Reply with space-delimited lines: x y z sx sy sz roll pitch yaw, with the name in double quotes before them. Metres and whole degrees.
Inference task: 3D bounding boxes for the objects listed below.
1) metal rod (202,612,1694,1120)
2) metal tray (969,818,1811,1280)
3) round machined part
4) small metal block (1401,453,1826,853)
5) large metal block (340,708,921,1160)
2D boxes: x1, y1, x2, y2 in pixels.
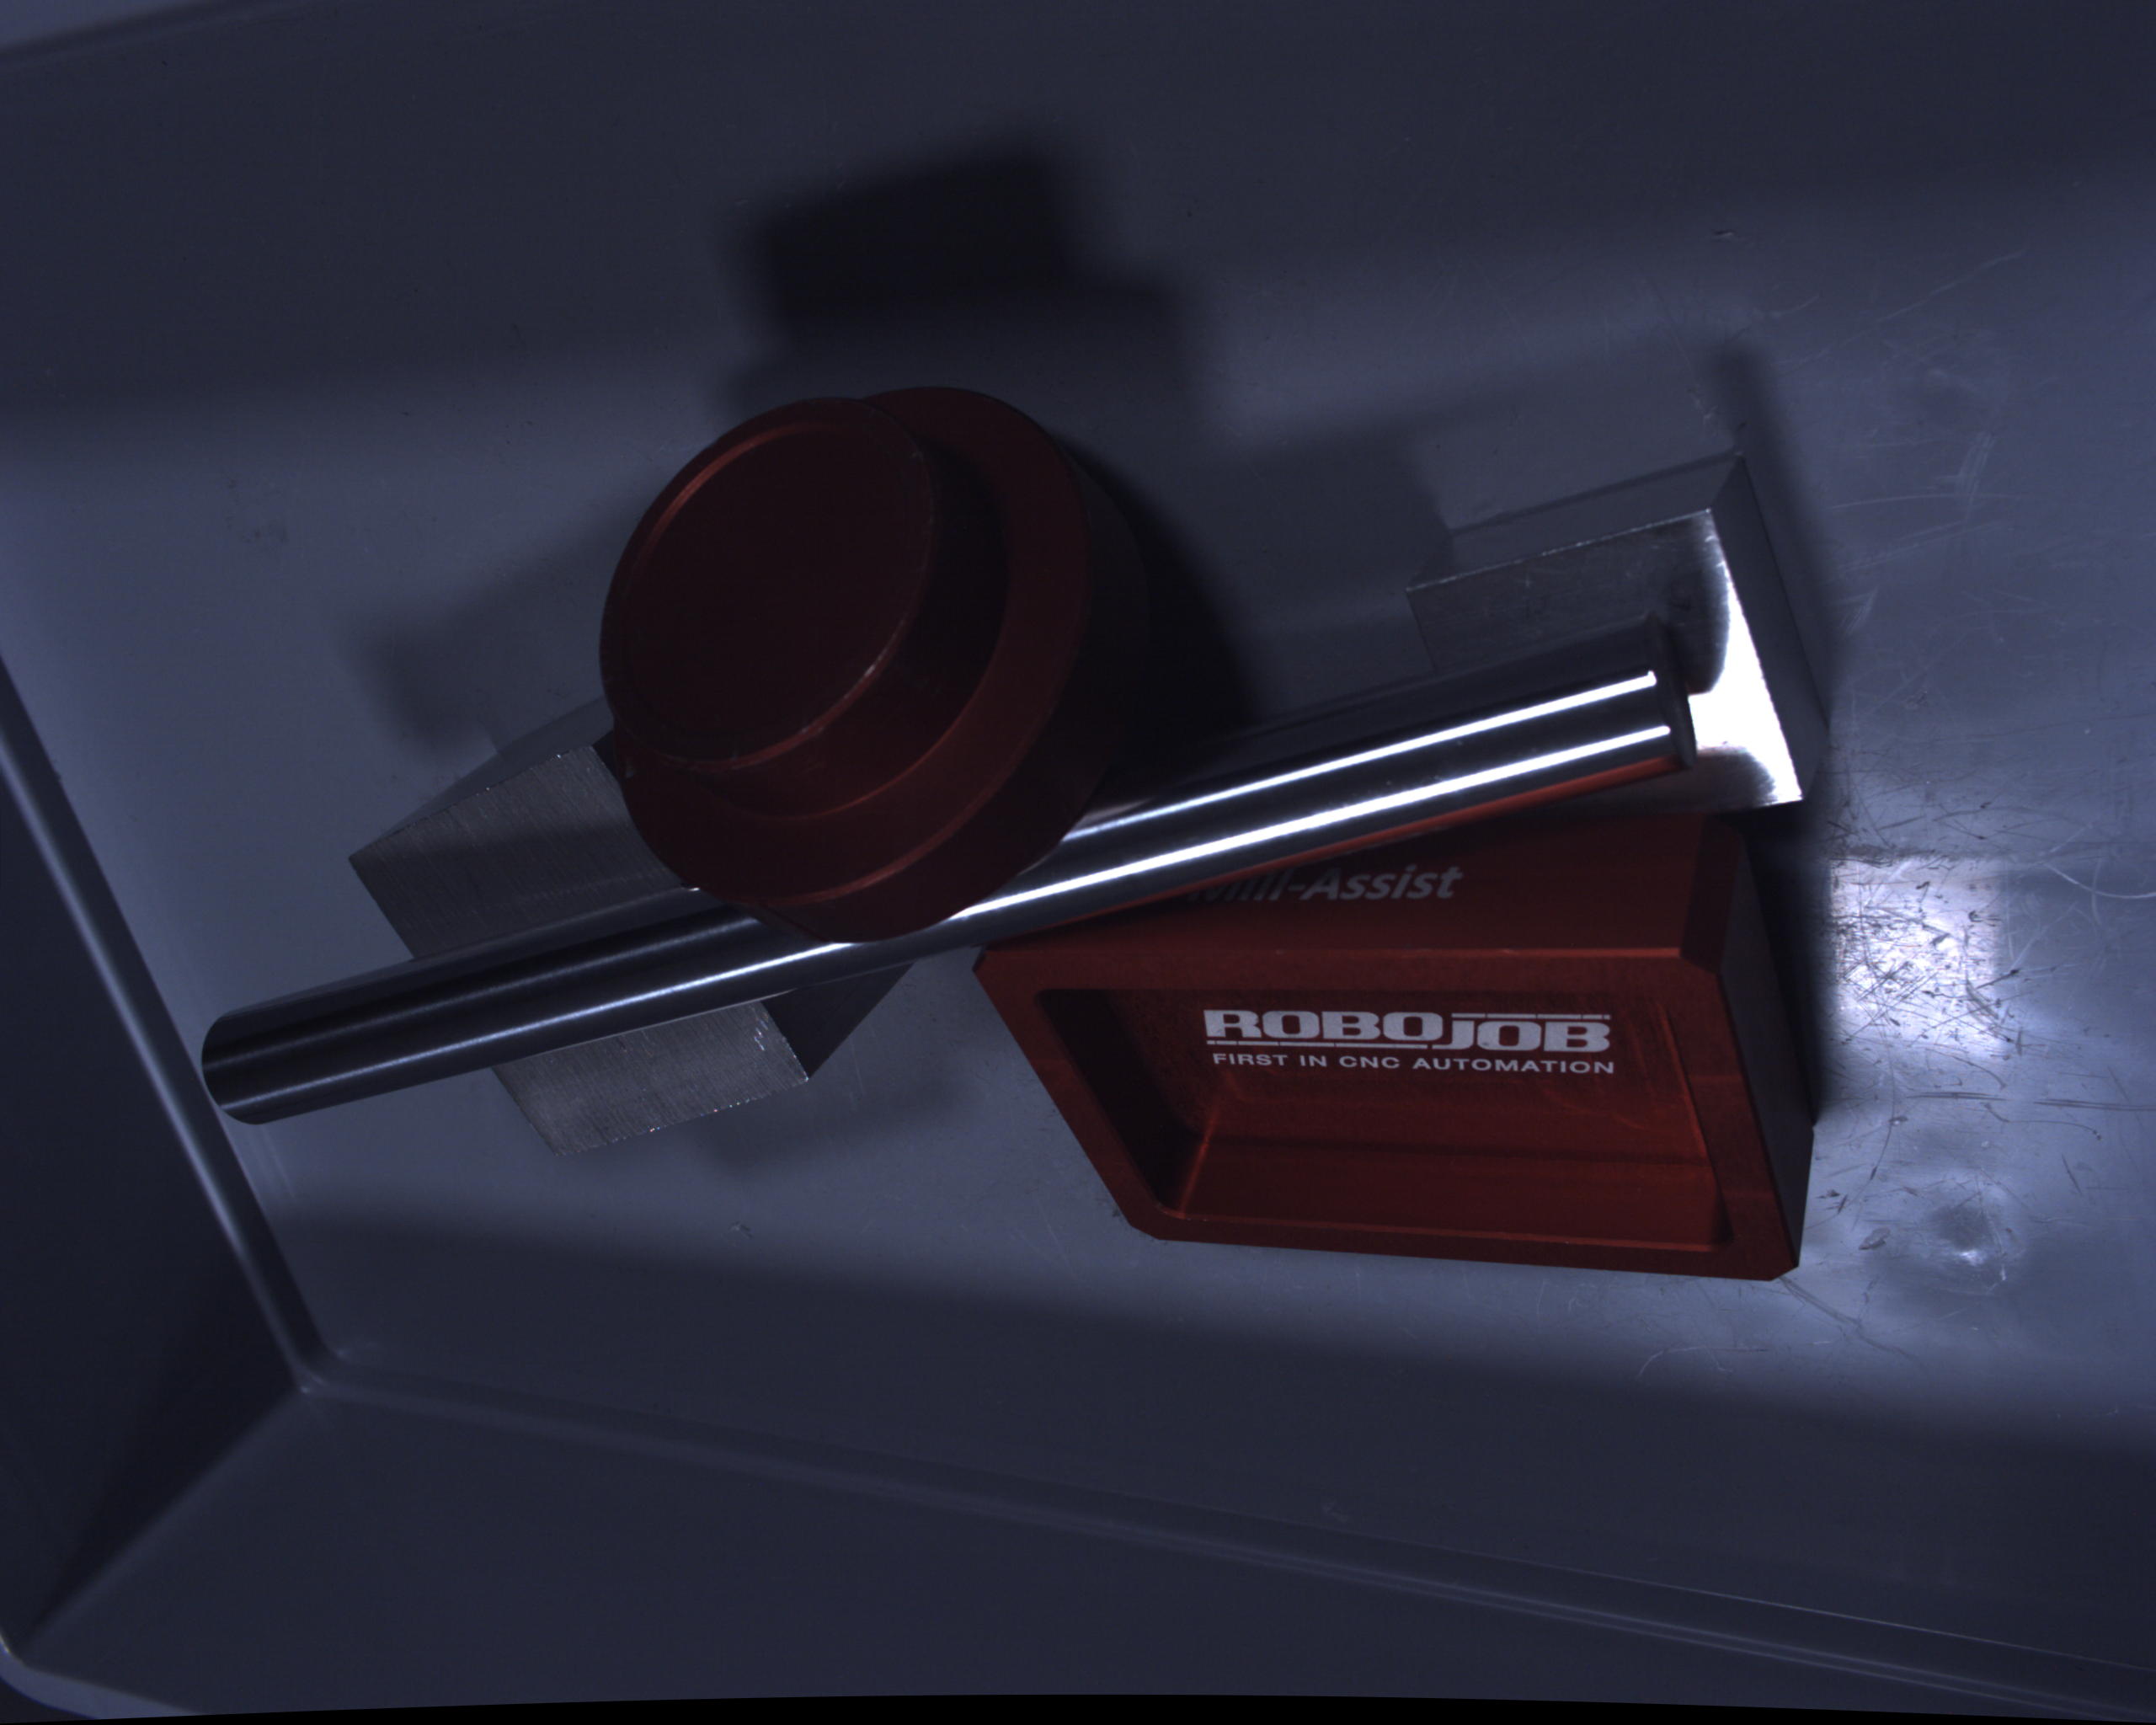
"metal rod" -0.043 0.008 0.375 0.300 0.025 0.025 -14 111 26
"metal tray" 0.057 0.035 0.376 0.130 0.030 0.090 -2 137 28
"round machined part" -0.041 -0.039 0.353 0.098 0.098 0.042 -4 157 30
"small metal block" 0.088 -0.033 0.339 0.050 0.025 0.050 -12 113 33
"large metal block" -0.093 0.009 0.442 0.080 0.050 0.080 -19 109 35
